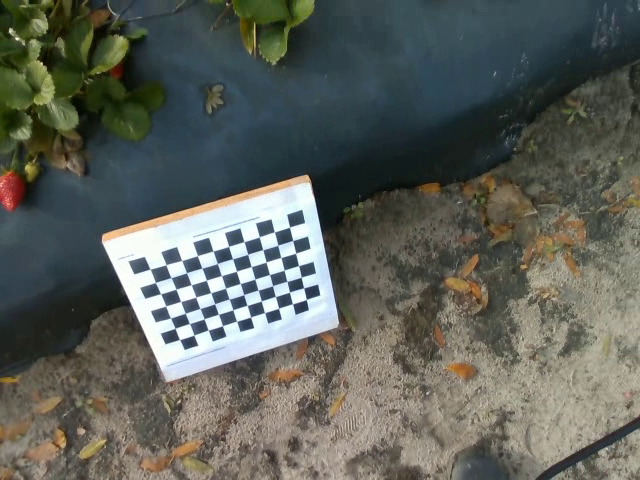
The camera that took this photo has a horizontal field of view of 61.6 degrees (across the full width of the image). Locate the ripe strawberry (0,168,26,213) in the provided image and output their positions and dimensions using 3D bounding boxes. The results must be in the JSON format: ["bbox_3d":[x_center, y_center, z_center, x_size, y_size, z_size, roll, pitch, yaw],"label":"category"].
[{"bbox_3d":[-0.409,-0.063,0.704,0.045,0.058,0.051,-14,-16,-9],"label":"ripe strawberry"}]
